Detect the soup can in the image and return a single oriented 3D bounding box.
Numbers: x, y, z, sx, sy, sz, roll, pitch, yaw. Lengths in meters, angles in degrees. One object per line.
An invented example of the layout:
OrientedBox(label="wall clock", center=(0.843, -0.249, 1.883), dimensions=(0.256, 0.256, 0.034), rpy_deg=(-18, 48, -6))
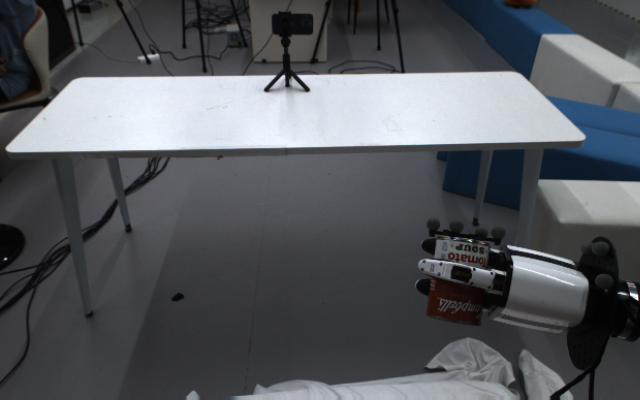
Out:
OrientedBox(label="soup can", center=(0.176, 0.100, 0.610), dimensions=(0.067, 0.101, 0.067), rpy_deg=(9, -6, 1))
